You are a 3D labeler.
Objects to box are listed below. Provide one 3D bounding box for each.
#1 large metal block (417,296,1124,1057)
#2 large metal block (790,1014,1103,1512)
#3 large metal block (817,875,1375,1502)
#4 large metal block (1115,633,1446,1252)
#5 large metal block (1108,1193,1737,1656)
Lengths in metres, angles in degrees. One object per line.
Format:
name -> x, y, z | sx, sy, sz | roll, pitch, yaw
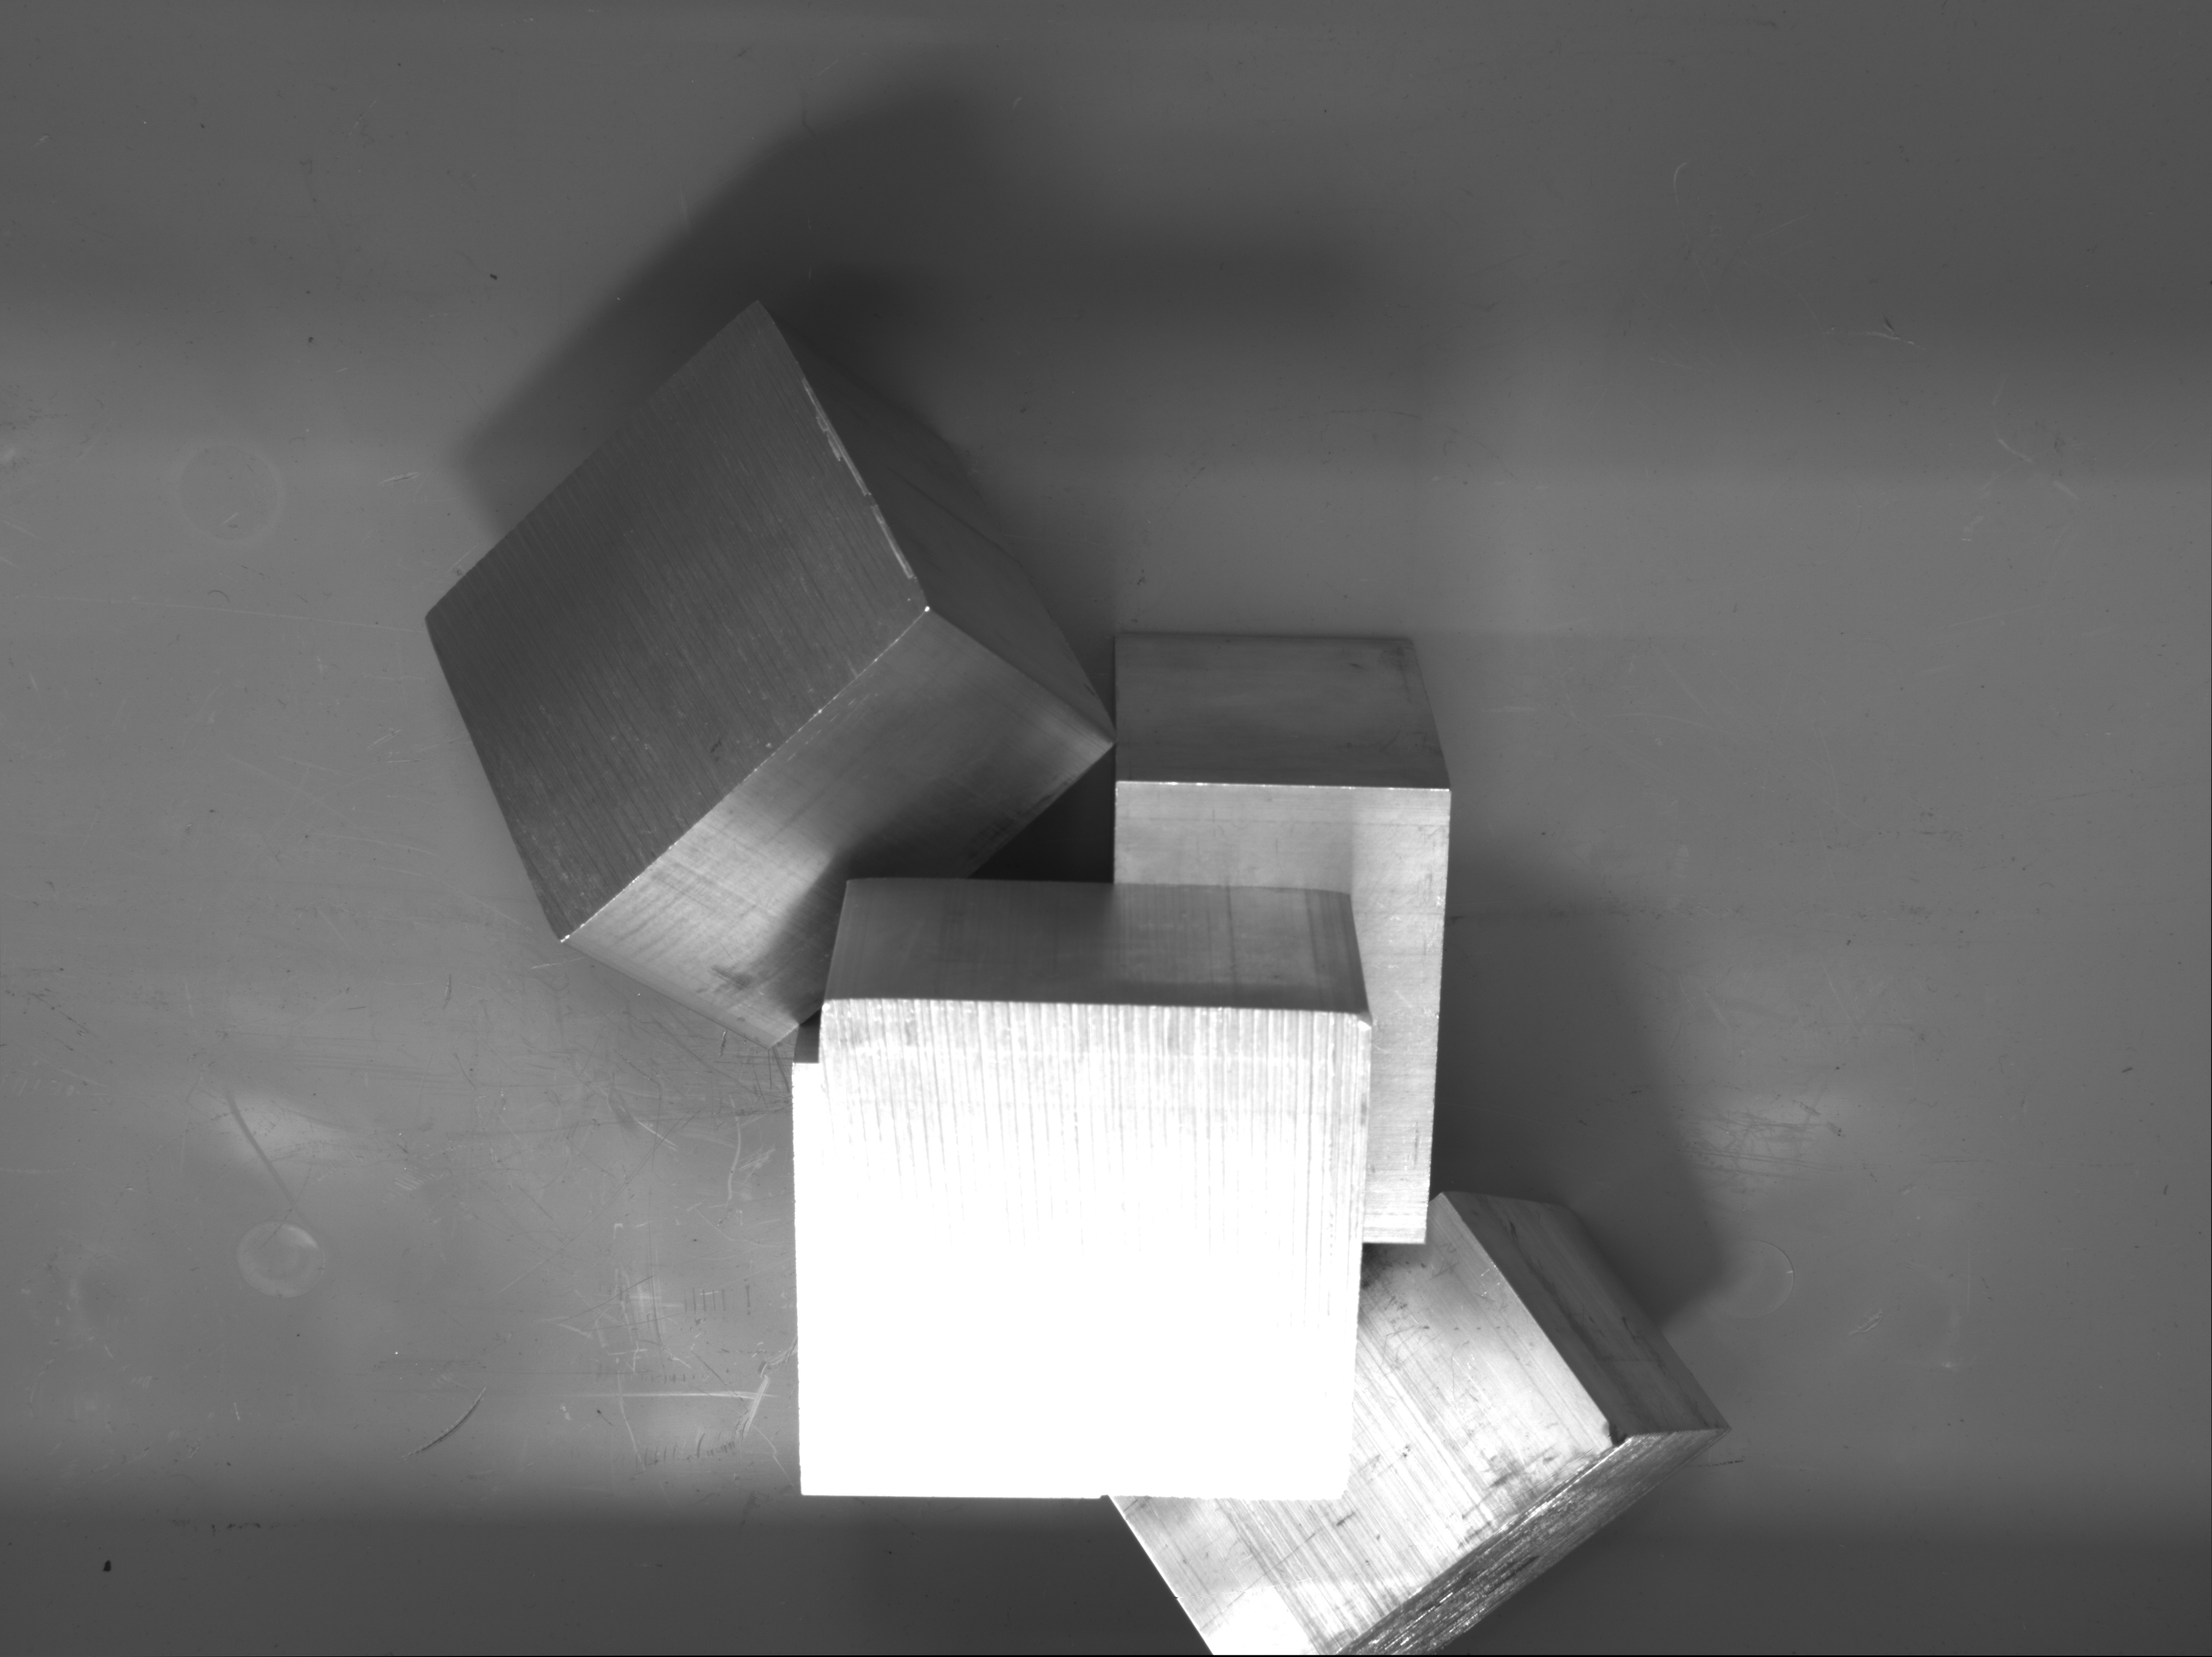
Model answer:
large metal block -> -0.056, -0.024, 0.596 | 0.080, 0.080, 0.050 | -41, 140, 13
large metal block -> -0.026, 0.063, 0.636 | 0.050, 0.080, 0.080 | 1, 110, 0
large metal block -> -0.002, 0.055, 0.563 | 0.080, 0.050, 0.080 | 2, 110, -1
large metal block -> 0.027, 0.017, 0.618 | 0.050, 0.080, 0.080 | 1, 110, 0
large metal block -> 0.056, 0.110, 0.645 | 0.080, 0.080, 0.050 | -40, 70, 13
